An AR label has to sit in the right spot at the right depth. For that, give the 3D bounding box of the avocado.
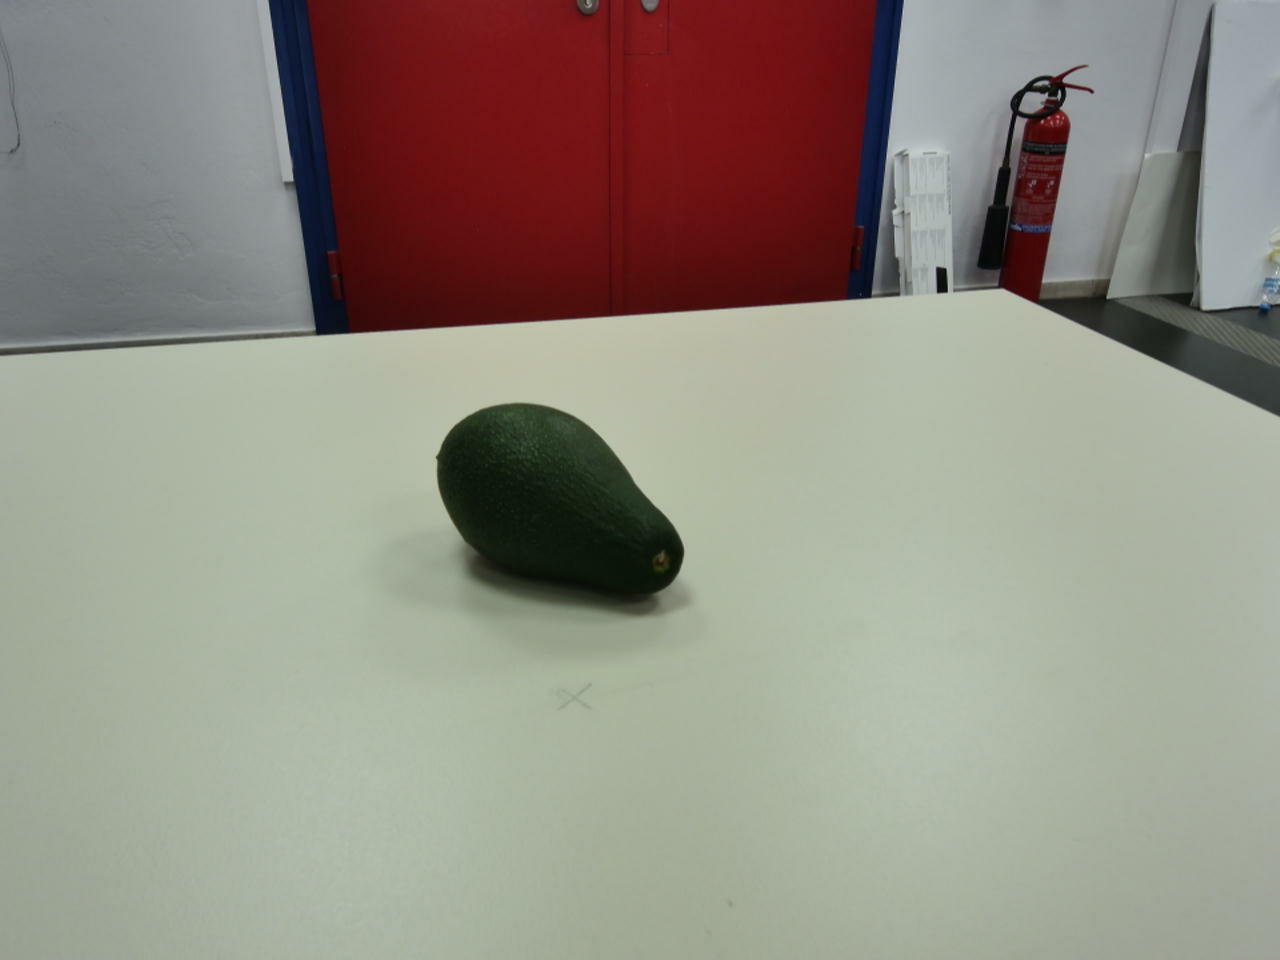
[{"bbox_3d":[-0.037,0.008,0.418,0.072,0.071,0.109,-17,29,-33],"label":"avocado"}]
